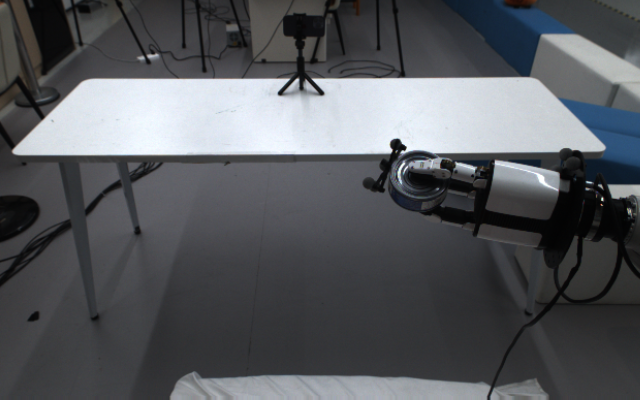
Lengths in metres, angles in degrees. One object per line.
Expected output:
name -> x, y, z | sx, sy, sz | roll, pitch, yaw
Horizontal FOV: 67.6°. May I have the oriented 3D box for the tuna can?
tuna can -> 0.142, -0.029, 0.690 | 0.085, 0.034, 0.085 | 0, 61, 1
